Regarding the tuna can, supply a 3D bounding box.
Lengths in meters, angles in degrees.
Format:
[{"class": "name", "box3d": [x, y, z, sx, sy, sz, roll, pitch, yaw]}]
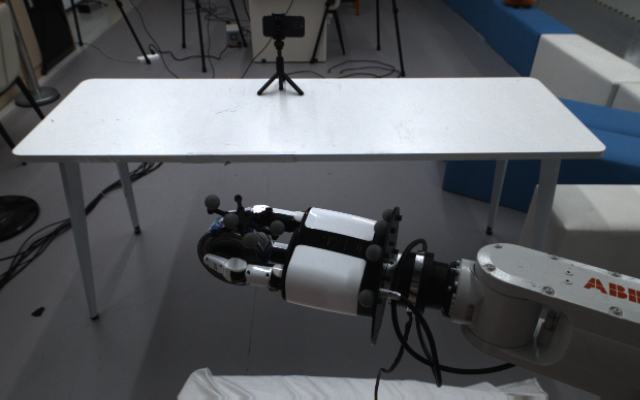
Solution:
[{"class": "tuna can", "box3d": [-0.100, 0.062, 0.587, 0.085, 0.085, 0.034, 9, 35, 10]}]
